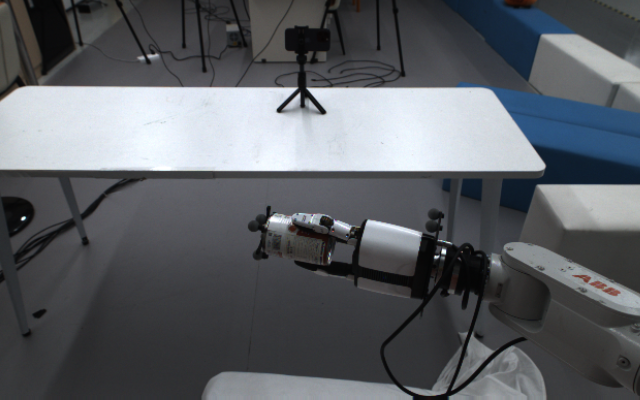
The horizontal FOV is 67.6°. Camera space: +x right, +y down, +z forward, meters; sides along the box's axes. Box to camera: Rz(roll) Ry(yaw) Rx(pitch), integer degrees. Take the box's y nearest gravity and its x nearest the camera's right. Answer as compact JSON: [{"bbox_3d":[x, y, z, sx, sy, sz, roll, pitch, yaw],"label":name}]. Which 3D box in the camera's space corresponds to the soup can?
[{"bbox_3d":[-0.028,0.061,0.746,0.101,0.067,0.067,9,35,9],"label":"soup can"}]
